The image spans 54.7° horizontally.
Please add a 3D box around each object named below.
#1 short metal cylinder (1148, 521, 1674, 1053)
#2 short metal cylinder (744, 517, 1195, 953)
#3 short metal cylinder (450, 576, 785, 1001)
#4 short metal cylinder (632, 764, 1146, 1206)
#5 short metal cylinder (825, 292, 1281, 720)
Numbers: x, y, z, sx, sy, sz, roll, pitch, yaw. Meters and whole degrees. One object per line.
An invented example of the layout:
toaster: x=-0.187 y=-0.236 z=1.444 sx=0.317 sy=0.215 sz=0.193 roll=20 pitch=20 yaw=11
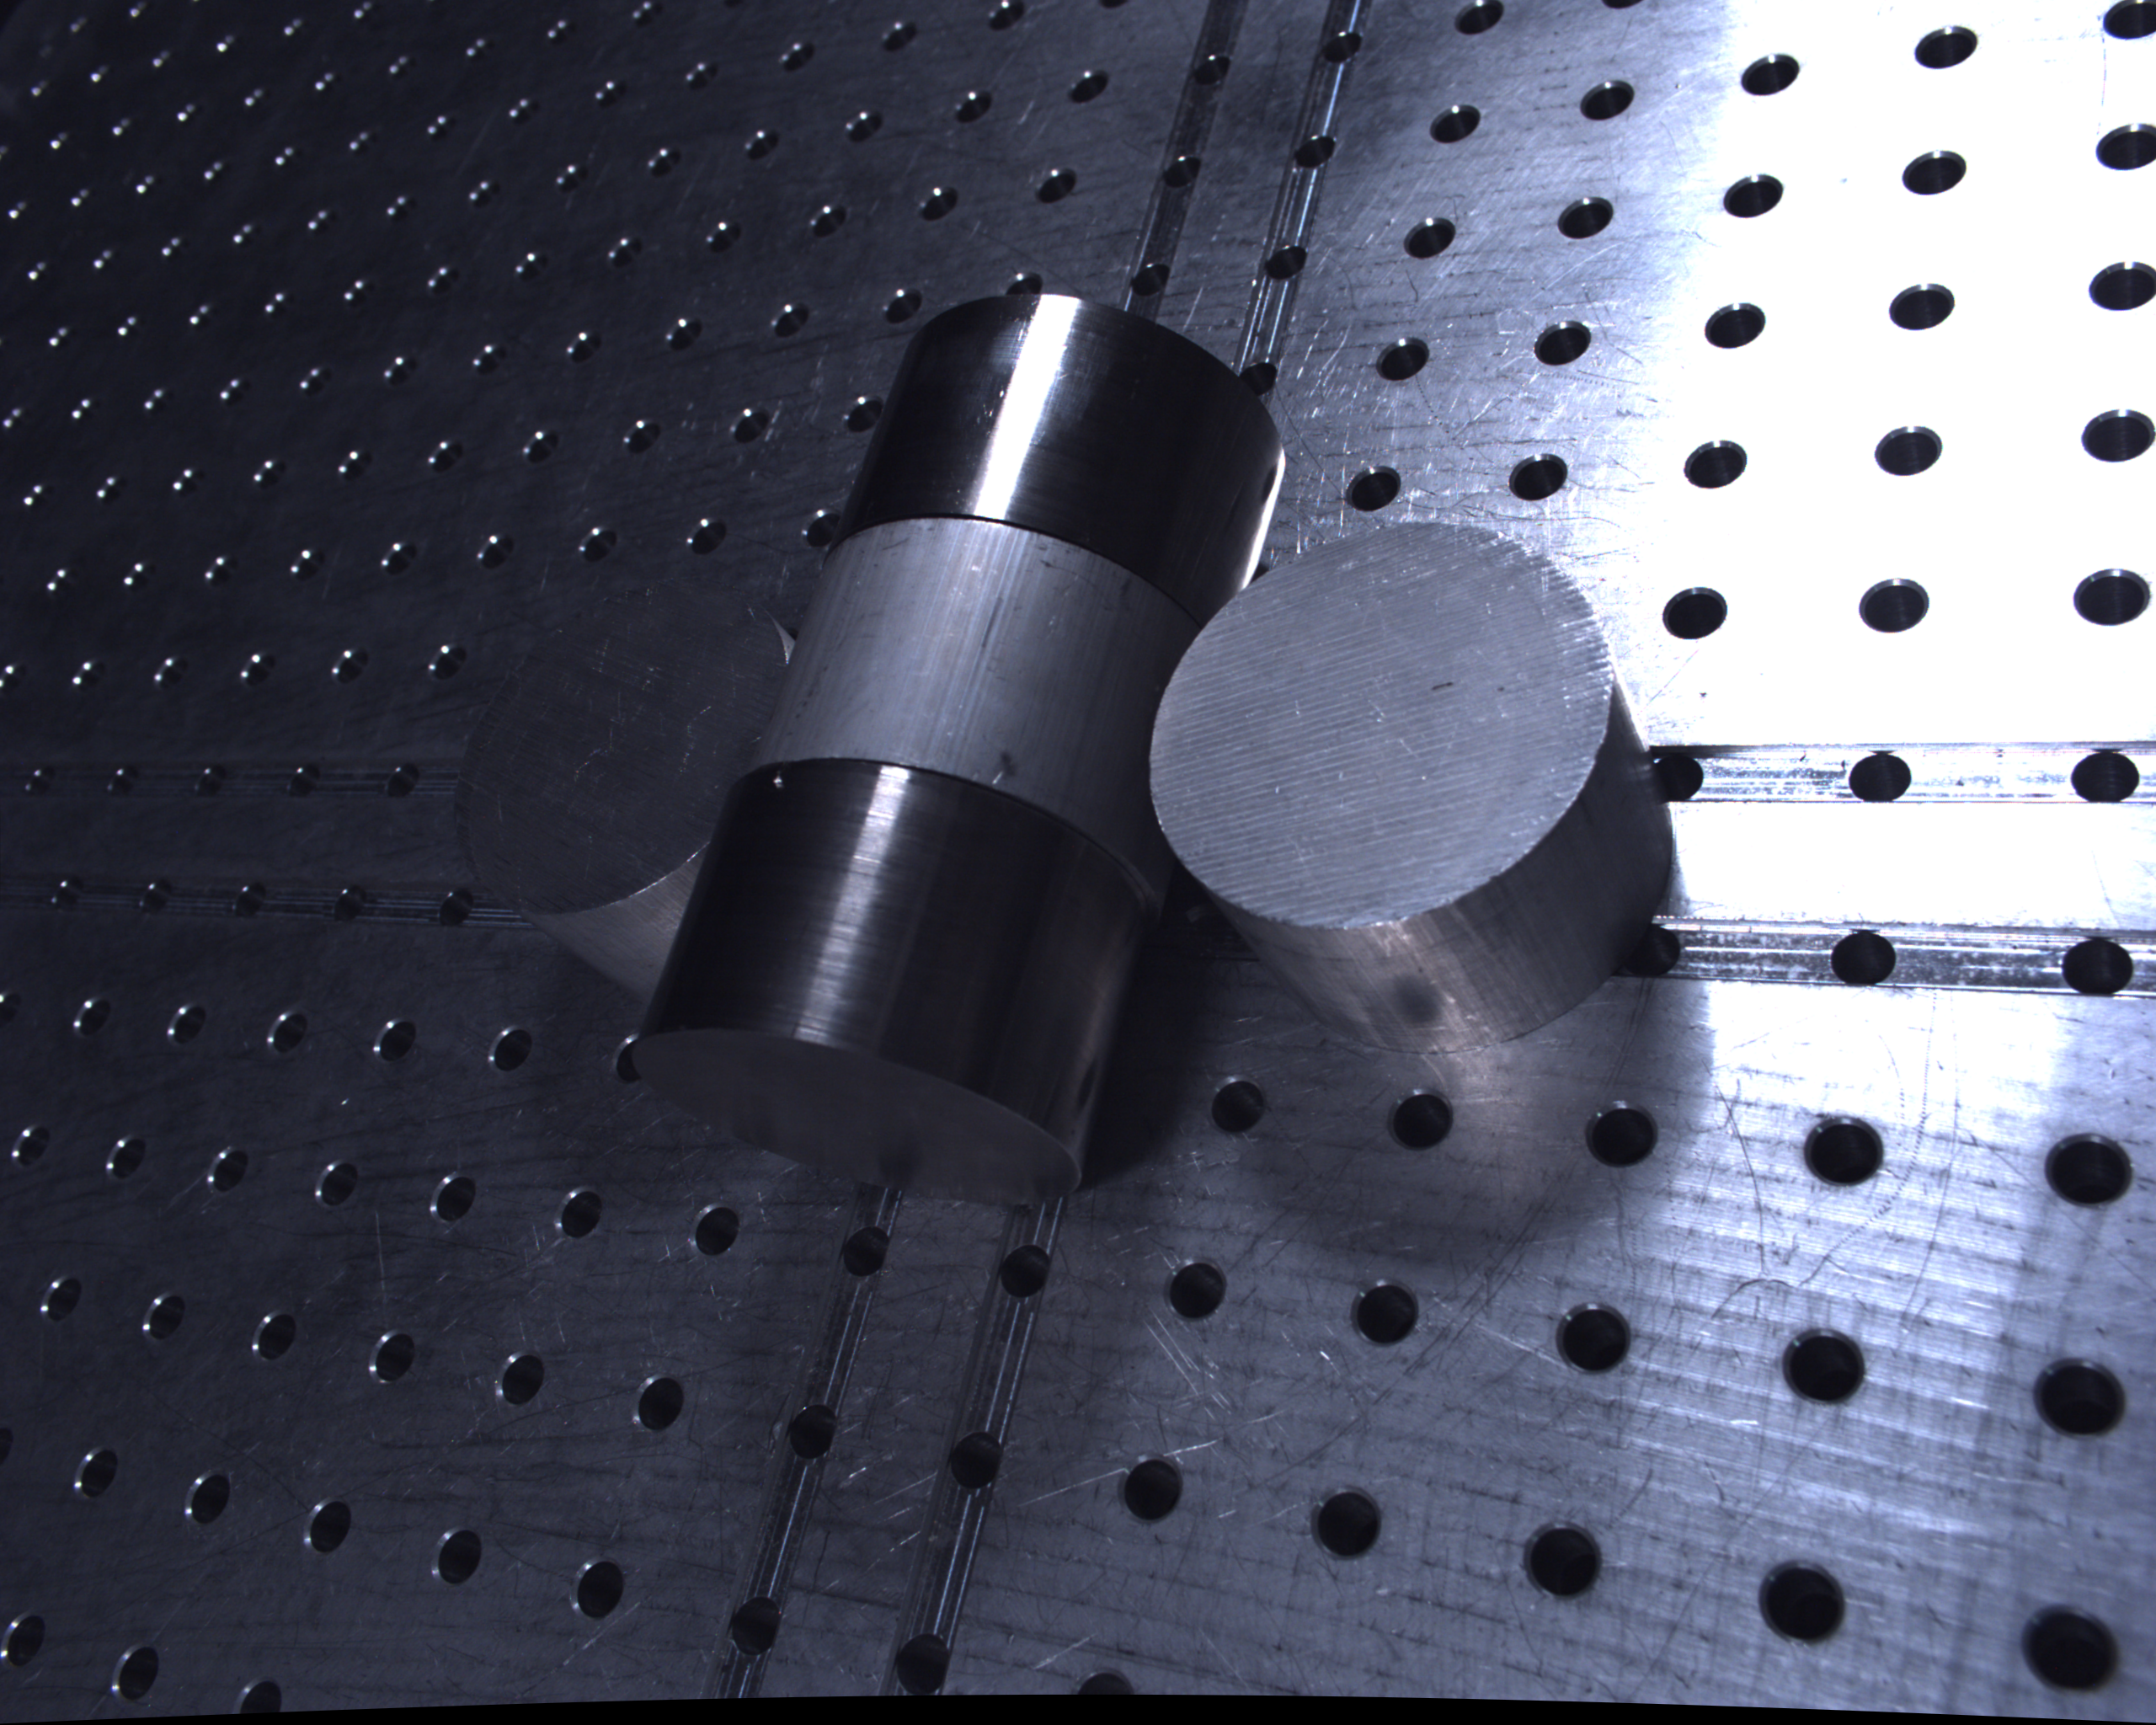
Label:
short metal cylinder: x=0.059 y=-0.013 z=0.367 sx=0.080 sy=0.050 sz=0.080 roll=-13 pitch=56 yaw=20
short metal cylinder: x=-0.018 y=-0.021 z=0.393 sx=0.080 sy=0.080 sz=0.050 roll=2 pitch=63 yaw=29
short metal cylinder: x=-0.084 y=-0.014 z=0.442 sx=0.080 sy=0.050 sz=0.080 roll=-13 pitch=56 yaw=20
short metal cylinder: x=-0.033 y=0.024 z=0.373 sx=0.080 sy=0.080 sz=0.050 roll=1 pitch=63 yaw=28
short metal cylinder: x=-0.005 y=-0.067 z=0.414 sx=0.080 sy=0.080 sz=0.050 roll=3 pitch=63 yaw=29
